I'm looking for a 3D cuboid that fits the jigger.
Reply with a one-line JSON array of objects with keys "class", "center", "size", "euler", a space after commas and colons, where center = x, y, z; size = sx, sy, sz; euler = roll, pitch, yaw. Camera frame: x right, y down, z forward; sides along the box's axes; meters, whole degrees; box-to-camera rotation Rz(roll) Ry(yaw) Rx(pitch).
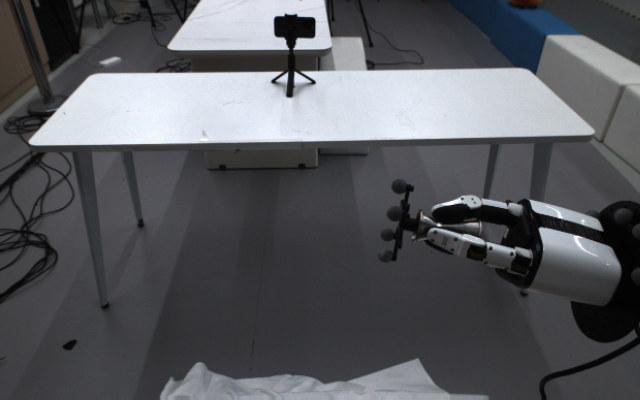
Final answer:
[{"class": "jigger", "center": [0.149, 0.034, 0.550], "size": [0.071, 0.043, 0.043], "euler": [12, 35, 4]}]
